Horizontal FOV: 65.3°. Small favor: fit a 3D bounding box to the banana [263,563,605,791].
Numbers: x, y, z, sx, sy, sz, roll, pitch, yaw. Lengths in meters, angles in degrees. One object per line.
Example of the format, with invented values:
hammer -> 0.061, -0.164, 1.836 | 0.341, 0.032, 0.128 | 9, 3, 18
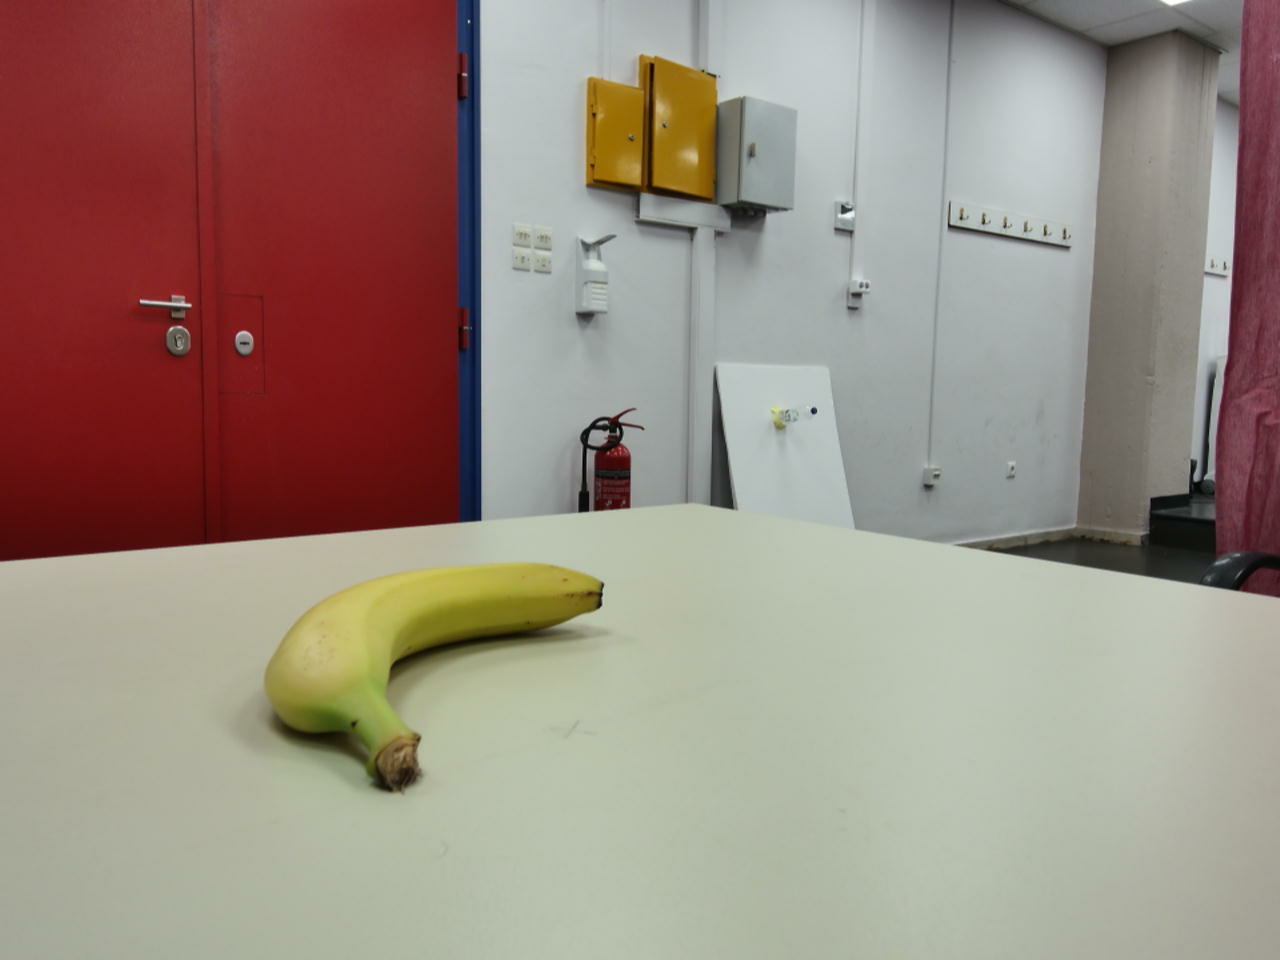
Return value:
banana -> -0.085, 0.061, 0.391 | 0.094, 0.041, 0.196 | 1, 4, 16
